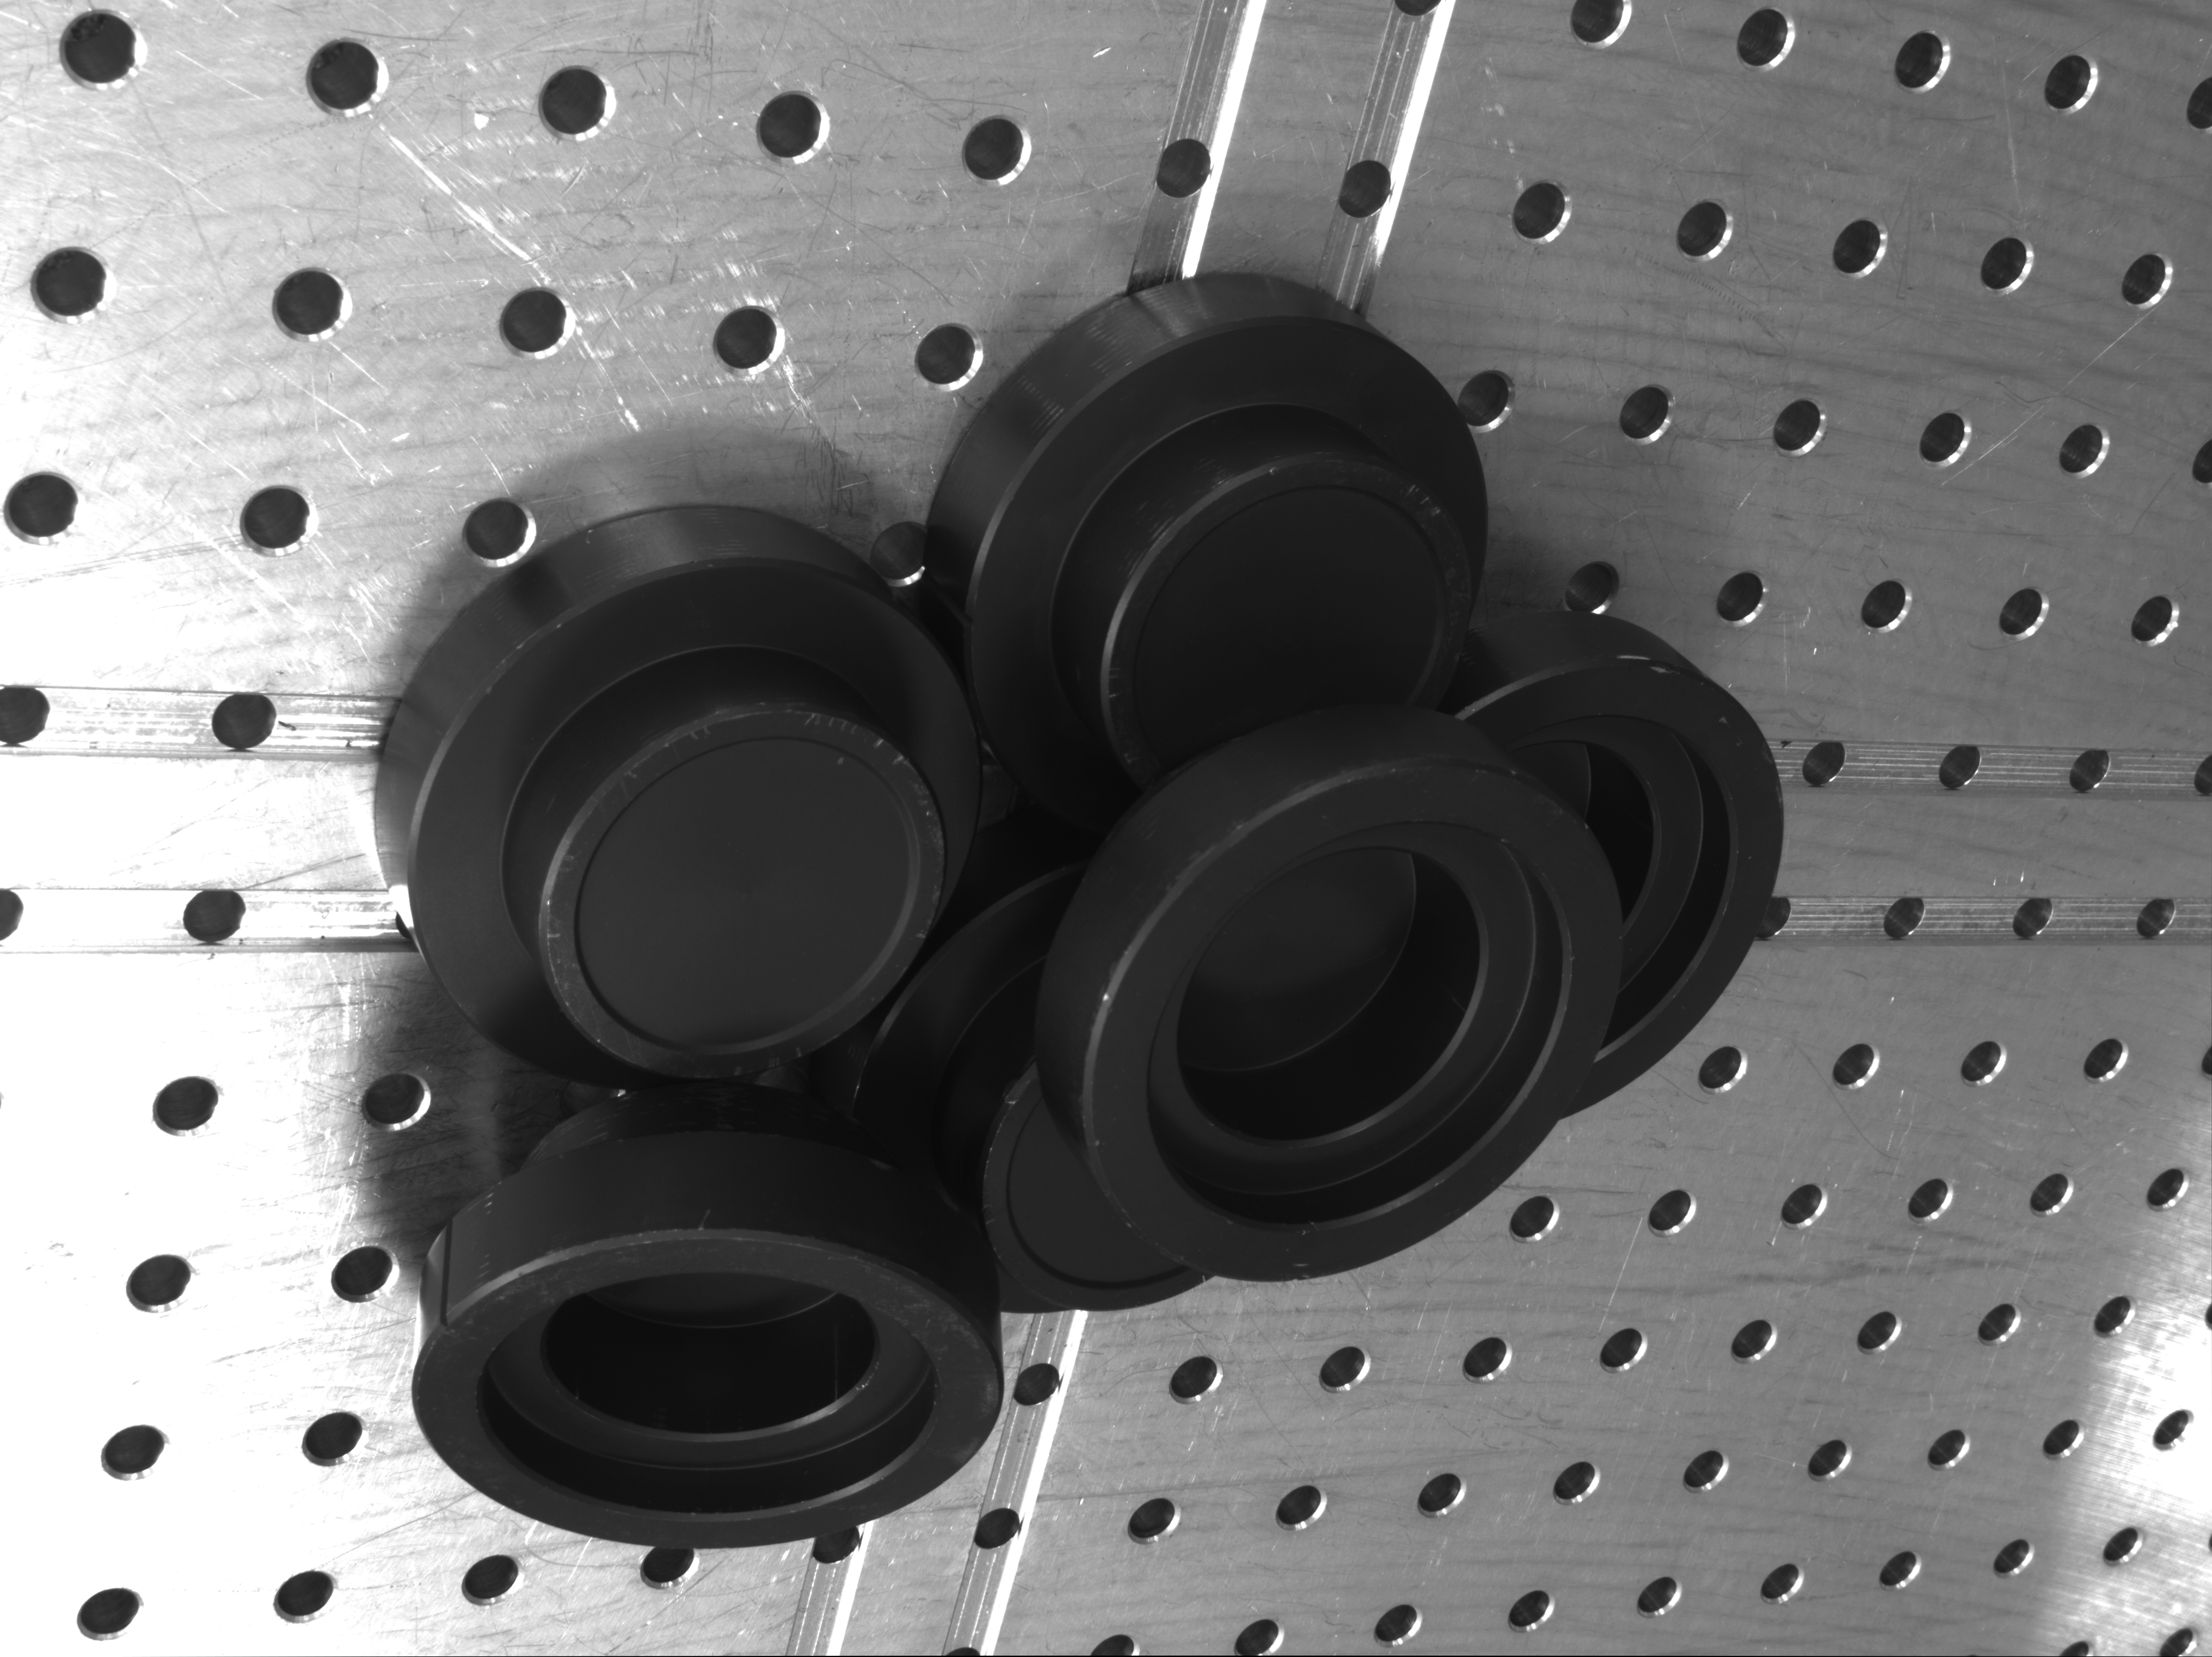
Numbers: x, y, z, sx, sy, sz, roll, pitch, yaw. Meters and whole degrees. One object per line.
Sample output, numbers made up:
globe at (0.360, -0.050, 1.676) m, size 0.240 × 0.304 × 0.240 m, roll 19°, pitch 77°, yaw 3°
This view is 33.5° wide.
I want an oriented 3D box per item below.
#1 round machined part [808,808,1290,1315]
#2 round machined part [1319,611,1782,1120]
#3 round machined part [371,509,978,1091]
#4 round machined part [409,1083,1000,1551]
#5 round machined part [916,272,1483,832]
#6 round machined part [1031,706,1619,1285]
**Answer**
round machined part at (0.000, 0.047, 0.658) m, size 0.098 × 0.042 × 0.098 m, roll -13°, pitch 124°, yaw -21°
round machined part at (0.071, 0.004, 0.670) m, size 0.098 × 0.042 × 0.098 m, roll -13°, pitch 124°, yaw -21°
round machined part at (-0.066, 0.001, 0.595) m, size 0.098 × 0.042 × 0.098 m, roll -13°, pitch 124°, yaw -21°
round machined part at (-0.068, 0.080, 0.625) m, size 0.098 × 0.042 × 0.098 m, roll -4°, pitch 139°, yaw -3°
round machined part at (0.021, -0.040, 0.617) m, size 0.098 × 0.042 × 0.098 m, roll -13°, pitch 124°, yaw -21°
round machined part at (0.032, 0.023, 0.606) m, size 0.098 × 0.042 × 0.098 m, roll -13°, pitch 124°, yaw -21°
